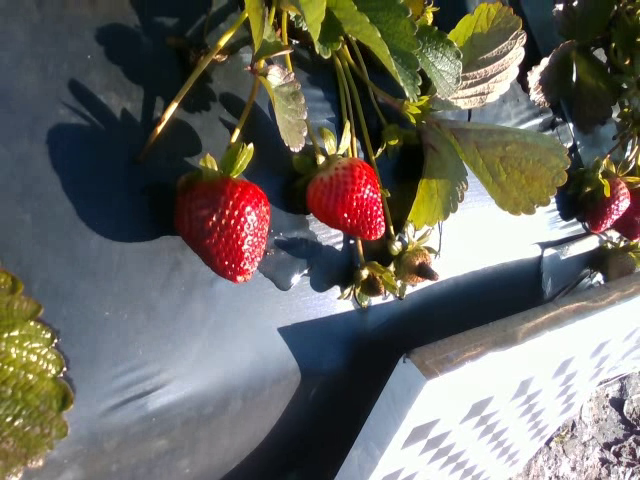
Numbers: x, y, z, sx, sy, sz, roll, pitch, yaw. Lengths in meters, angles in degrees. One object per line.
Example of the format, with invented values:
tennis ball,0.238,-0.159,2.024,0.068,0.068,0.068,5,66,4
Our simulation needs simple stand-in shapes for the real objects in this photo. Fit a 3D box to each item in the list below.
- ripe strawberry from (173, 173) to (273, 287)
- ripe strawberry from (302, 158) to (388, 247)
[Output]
ripe strawberry,-0.040,-0.002,0.269,0.044,0.050,0.050,-33,-25,34
ripe strawberry,0.017,-0.018,0.312,0.042,0.049,0.039,-37,-7,0
